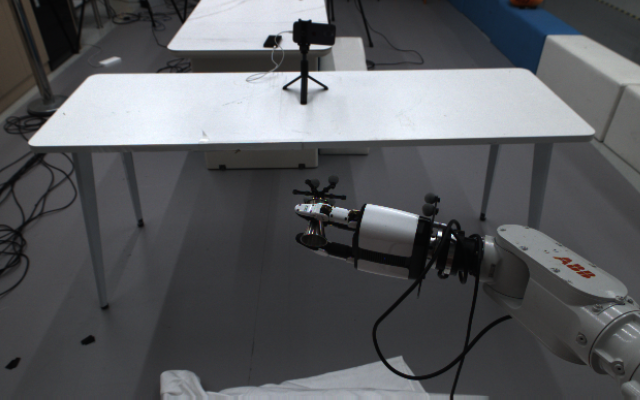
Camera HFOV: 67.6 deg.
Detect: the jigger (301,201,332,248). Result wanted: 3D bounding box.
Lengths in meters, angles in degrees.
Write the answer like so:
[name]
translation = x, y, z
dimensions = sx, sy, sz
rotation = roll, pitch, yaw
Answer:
[jigger]
translation = -0.009, 0.034, 0.776
dimensions = 0.043, 0.043, 0.071
rotation = 5, 61, 5
